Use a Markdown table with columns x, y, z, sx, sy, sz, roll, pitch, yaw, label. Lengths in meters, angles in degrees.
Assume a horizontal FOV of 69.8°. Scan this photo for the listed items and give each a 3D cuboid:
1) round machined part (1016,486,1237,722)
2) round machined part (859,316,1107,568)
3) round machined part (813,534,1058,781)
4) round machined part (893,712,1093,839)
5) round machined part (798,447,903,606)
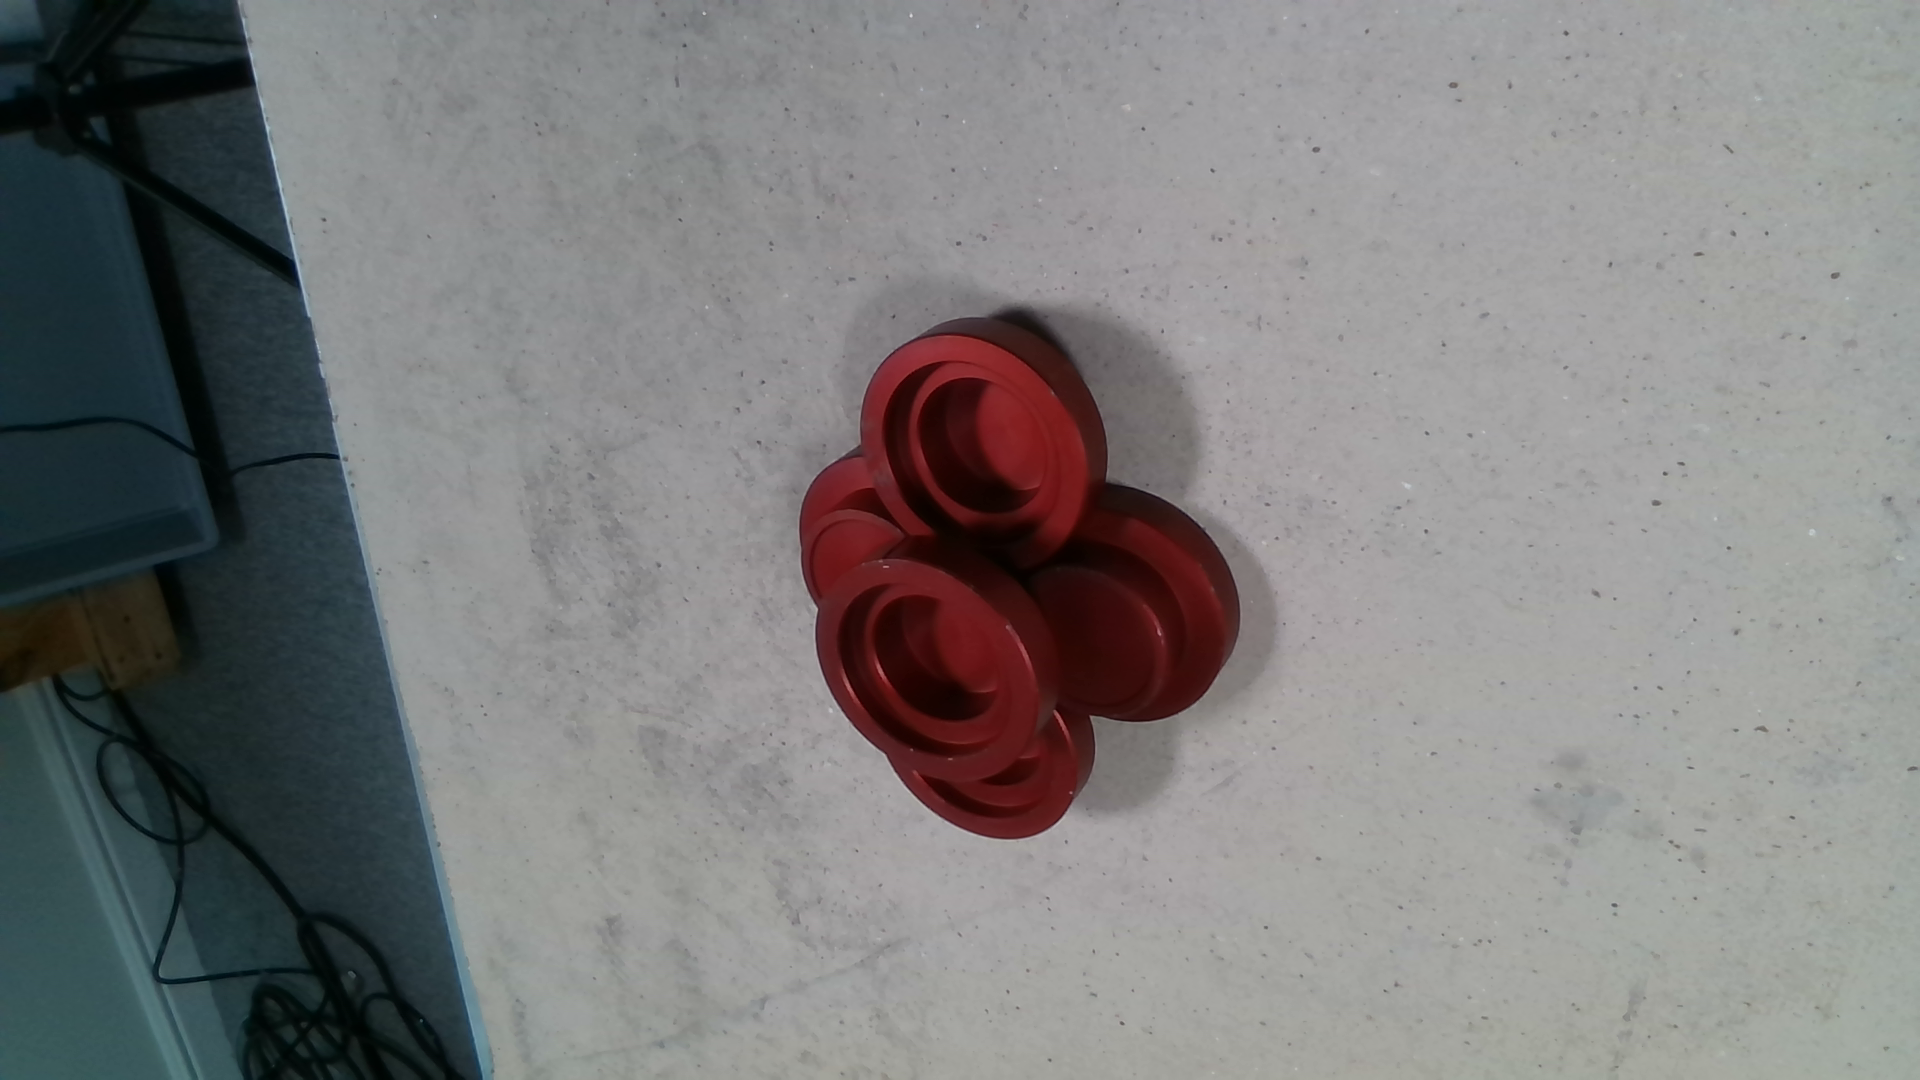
| x | y | z | sx | sy | sz | roll | pitch | yaw | label |
| --- | --- | --- | --- | --- | --- | --- | --- | --- | --- |
| 0.058 | 0.031 | 0.550 | 0.098 | 0.042 | 0.098 | 14 | 122 | 25 | round machined part |
| 0.013 | -0.041 | 0.539 | 0.098 | 0.042 | 0.098 | 14 | 122 | 25 | round machined part |
| -0.006 | 0.042 | 0.541 | 0.098 | 0.042 | 0.098 | 15 | 122 | 25 | round machined part |
| 0.014 | 0.079 | 0.604 | 0.098 | 0.042 | 0.098 | 14 | 122 | 25 | round machined part |
| -0.029 | 0.009 | 0.592 | 0.098 | 0.042 | 0.098 | 14 | 122 | 25 | round machined part |
